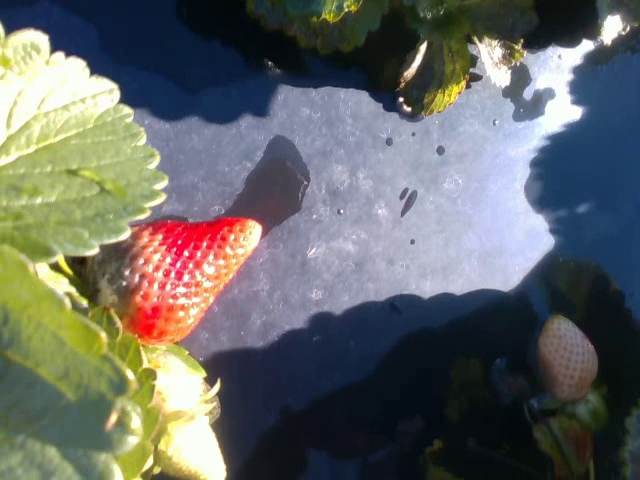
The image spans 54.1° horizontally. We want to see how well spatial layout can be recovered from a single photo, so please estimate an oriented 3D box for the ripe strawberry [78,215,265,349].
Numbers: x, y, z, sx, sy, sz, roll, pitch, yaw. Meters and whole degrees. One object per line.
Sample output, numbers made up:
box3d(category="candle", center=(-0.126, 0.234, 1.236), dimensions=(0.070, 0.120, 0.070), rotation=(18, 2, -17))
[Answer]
box3d(category="ripe strawberry", center=(-0.046, 0.008, 0.206), dimensions=(0.064, 0.052, 0.050), rotation=(-34, -40, -7))
